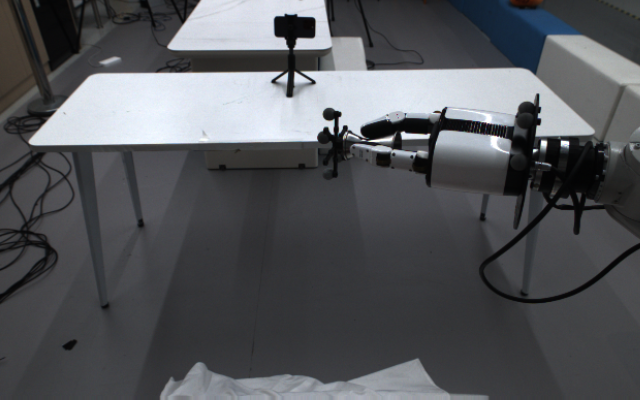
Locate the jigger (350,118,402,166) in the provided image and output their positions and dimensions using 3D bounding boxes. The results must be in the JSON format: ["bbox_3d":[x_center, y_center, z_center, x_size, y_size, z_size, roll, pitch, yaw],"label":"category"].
[{"bbox_3d":[0.074,-0.073,0.633,0.071,0.043,0.043,6,34,22],"label":"jigger"}]
